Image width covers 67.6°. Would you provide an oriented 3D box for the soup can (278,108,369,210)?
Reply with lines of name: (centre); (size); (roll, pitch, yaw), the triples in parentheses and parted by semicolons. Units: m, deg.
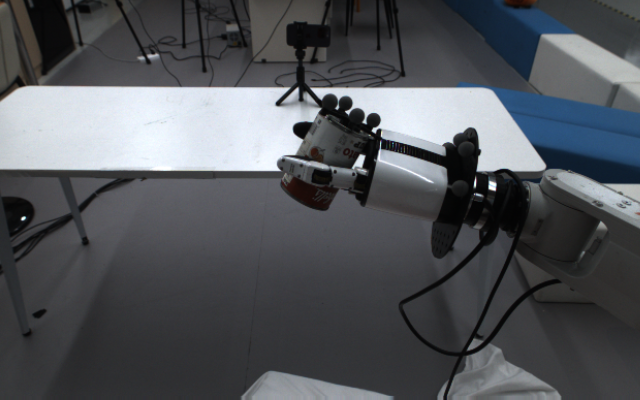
soup can: (0.006, -0.047, 0.573); (0.067, 0.101, 0.067); (27, 18, -9)
